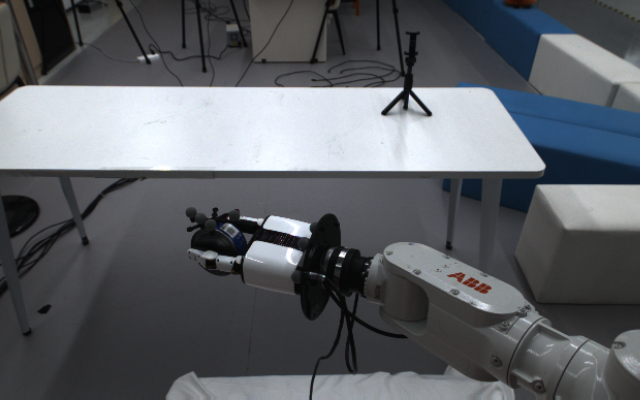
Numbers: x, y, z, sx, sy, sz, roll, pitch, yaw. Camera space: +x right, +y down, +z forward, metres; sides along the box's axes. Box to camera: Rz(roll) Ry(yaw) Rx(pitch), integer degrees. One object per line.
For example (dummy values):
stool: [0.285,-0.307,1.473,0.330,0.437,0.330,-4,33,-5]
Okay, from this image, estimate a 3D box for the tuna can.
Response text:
tuna can: [-0.157,0.075,0.762,0.085,0.085,0.034,15,28,18]
